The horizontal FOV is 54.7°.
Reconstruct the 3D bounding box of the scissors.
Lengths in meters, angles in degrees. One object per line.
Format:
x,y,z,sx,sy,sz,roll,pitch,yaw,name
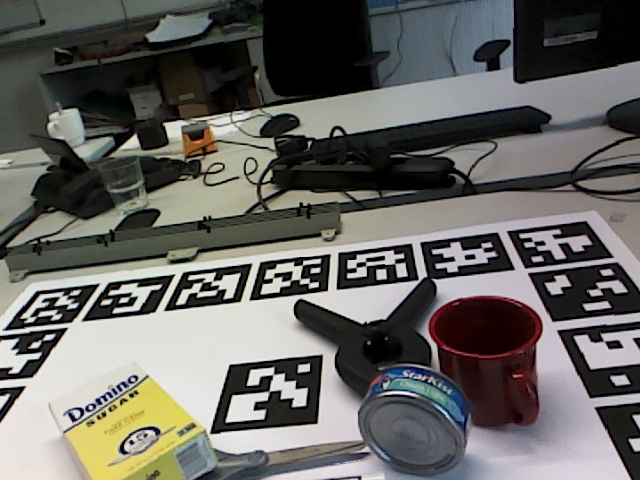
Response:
-0.063,0.187,0.534,0.202,0.016,0.088,-11,23,-4,scissors

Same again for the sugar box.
-0.170,0.175,0.560,0.092,0.045,0.178,-25,24,-26,sugar box

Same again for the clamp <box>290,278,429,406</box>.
0.059,0.112,0.644,0.165,0.036,0.203,-12,28,-3,clamp

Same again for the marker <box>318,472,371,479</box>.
-0.019,0.203,0.493,0.121,0.019,0.020,-9,28,4,marker

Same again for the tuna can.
0.078,0.146,0.497,0.086,0.085,0.033,1,29,22,tuna can

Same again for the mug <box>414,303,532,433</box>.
0.140,0.118,0.539,0.093,0.081,0.118,-20,25,-18,mug
